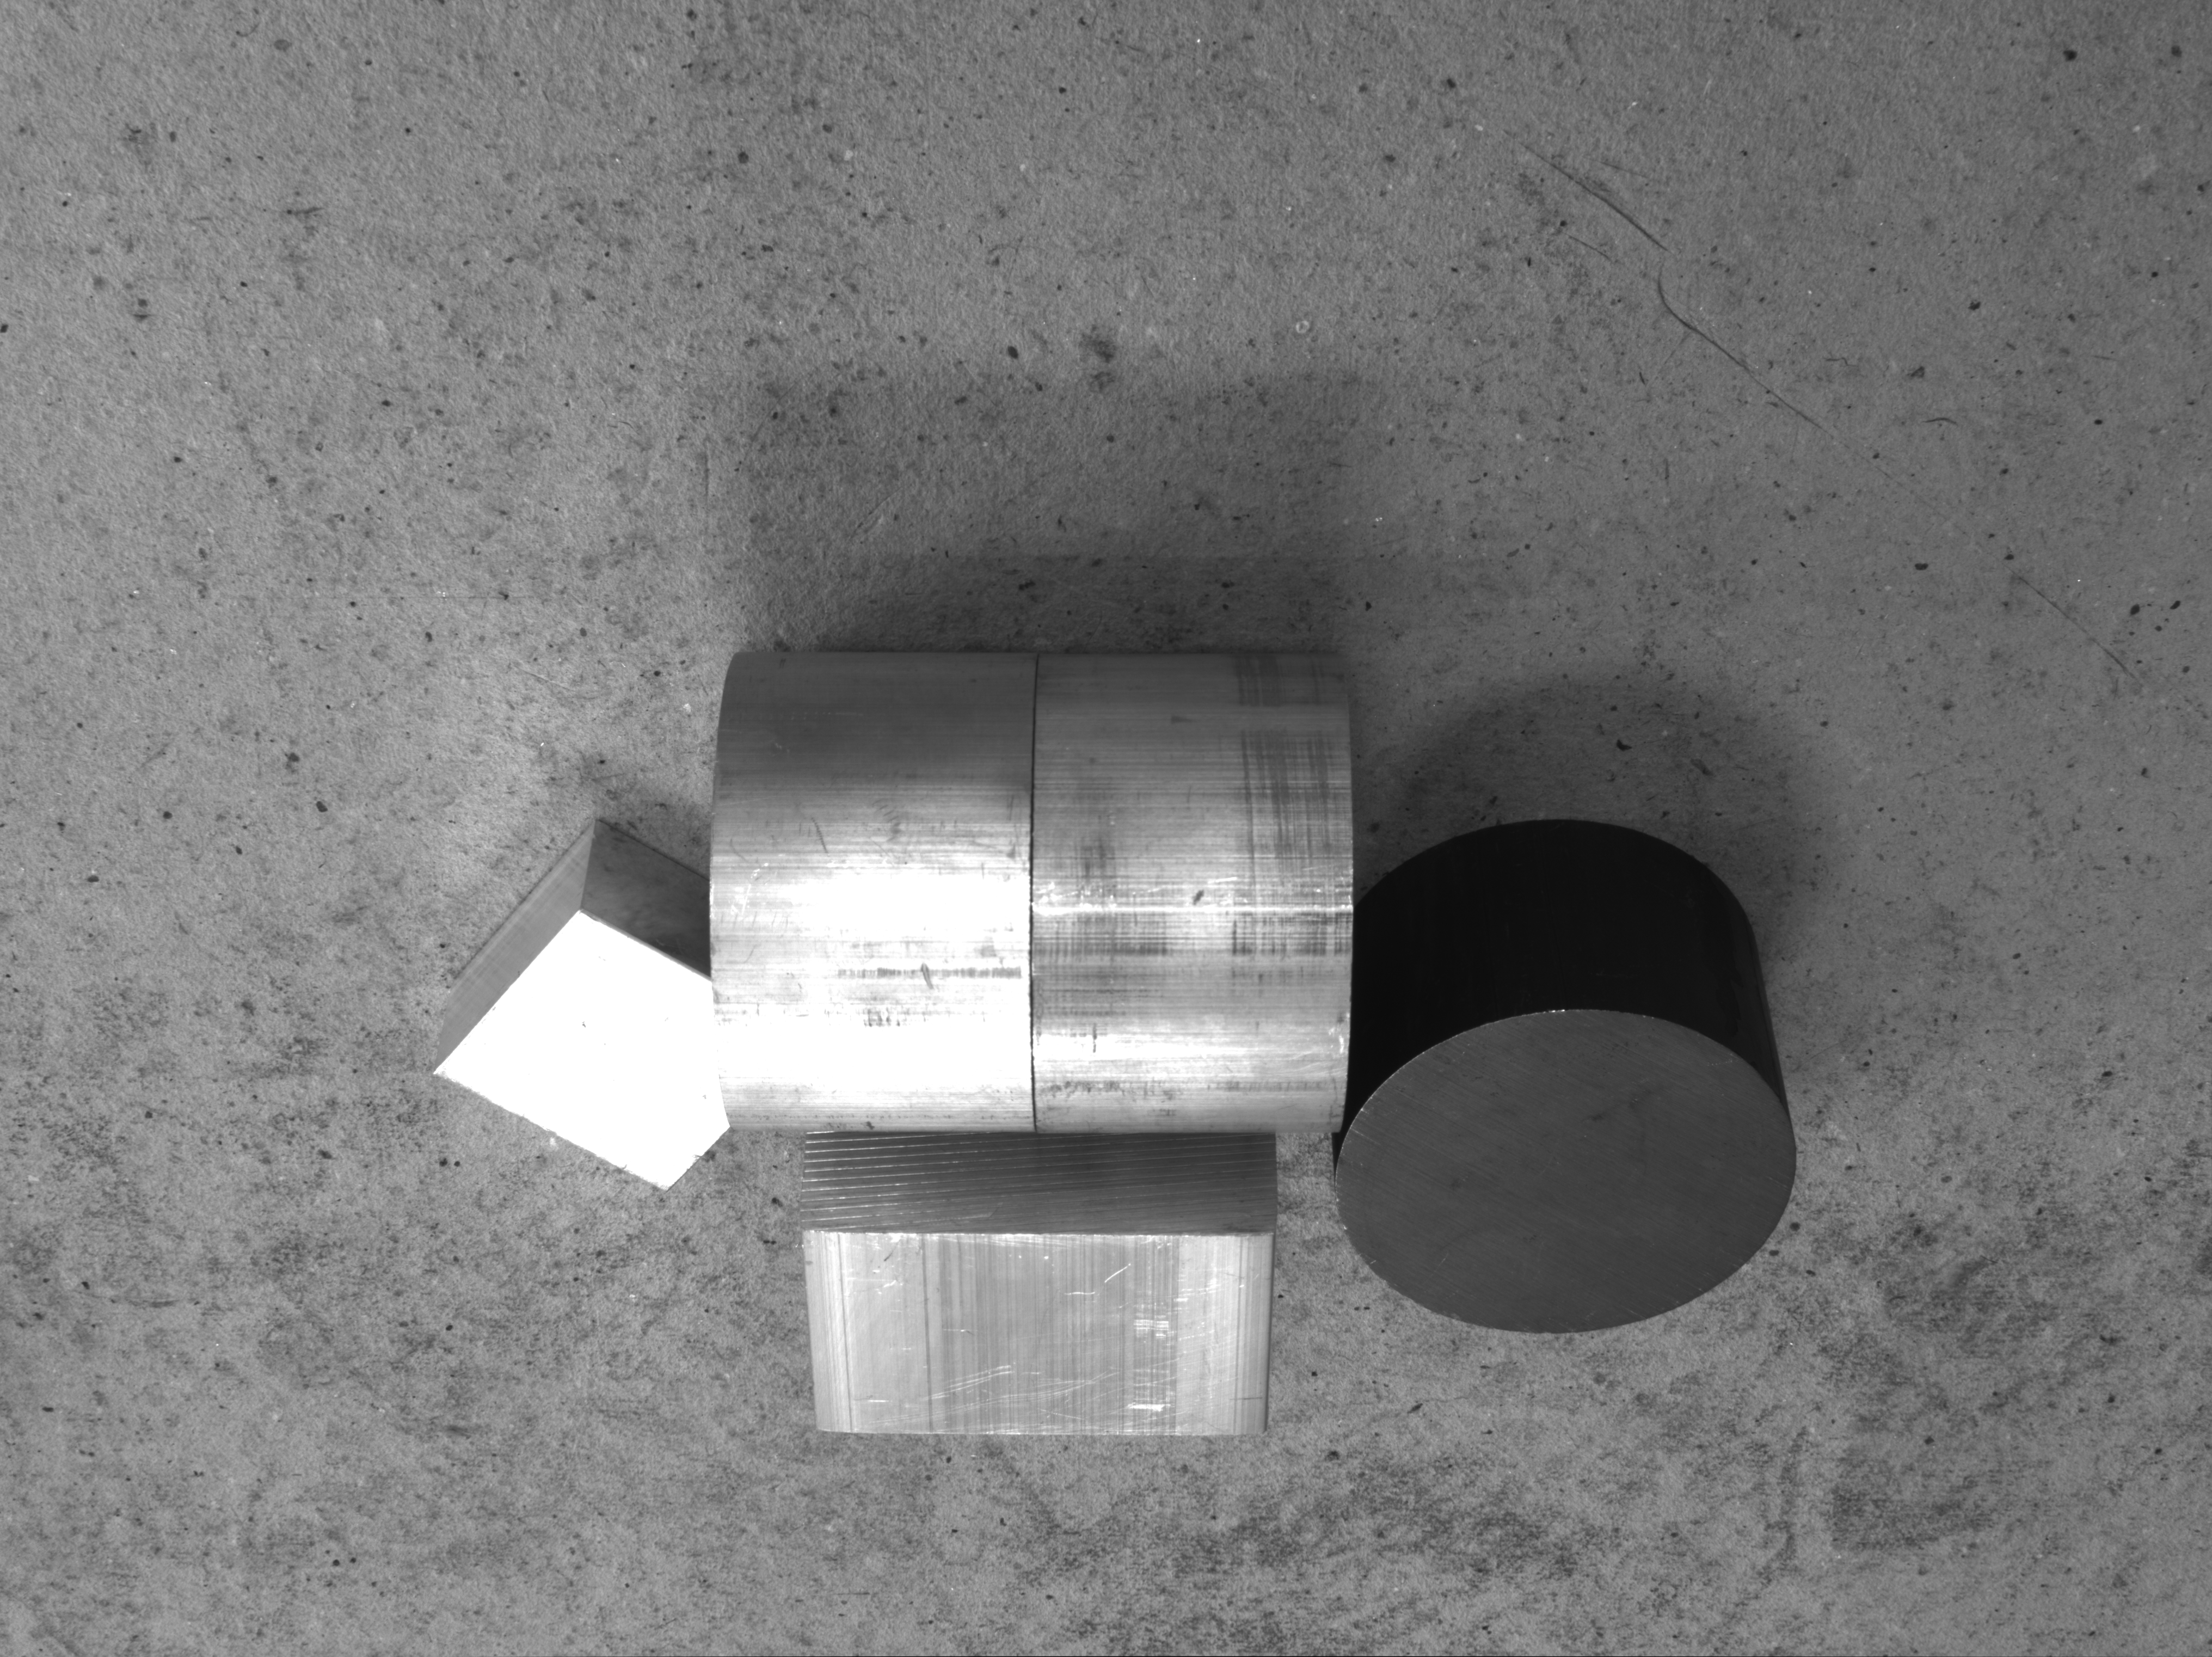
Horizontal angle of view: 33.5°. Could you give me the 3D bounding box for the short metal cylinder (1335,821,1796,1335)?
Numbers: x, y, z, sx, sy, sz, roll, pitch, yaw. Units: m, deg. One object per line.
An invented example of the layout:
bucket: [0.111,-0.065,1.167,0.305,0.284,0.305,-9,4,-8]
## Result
short metal cylinder: [0.080,0.045,0.661,0.080,0.050,0.080,0,130,0]

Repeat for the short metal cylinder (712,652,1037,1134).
short metal cylinder: [-0.037,0.011,0.614,0.050,0.080,0.080,0,130,0]

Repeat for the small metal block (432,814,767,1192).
small metal block: [-0.086,0.032,0.668,0.050,0.025,0.050,31,124,-23]

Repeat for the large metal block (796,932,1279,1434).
large metal block: [-0.011,0.061,0.656,0.080,0.080,0.050,1,130,0]

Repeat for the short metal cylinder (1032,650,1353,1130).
short metal cylinder: [0.013,0.010,0.613,0.050,0.080,0.080,0,130,0]
